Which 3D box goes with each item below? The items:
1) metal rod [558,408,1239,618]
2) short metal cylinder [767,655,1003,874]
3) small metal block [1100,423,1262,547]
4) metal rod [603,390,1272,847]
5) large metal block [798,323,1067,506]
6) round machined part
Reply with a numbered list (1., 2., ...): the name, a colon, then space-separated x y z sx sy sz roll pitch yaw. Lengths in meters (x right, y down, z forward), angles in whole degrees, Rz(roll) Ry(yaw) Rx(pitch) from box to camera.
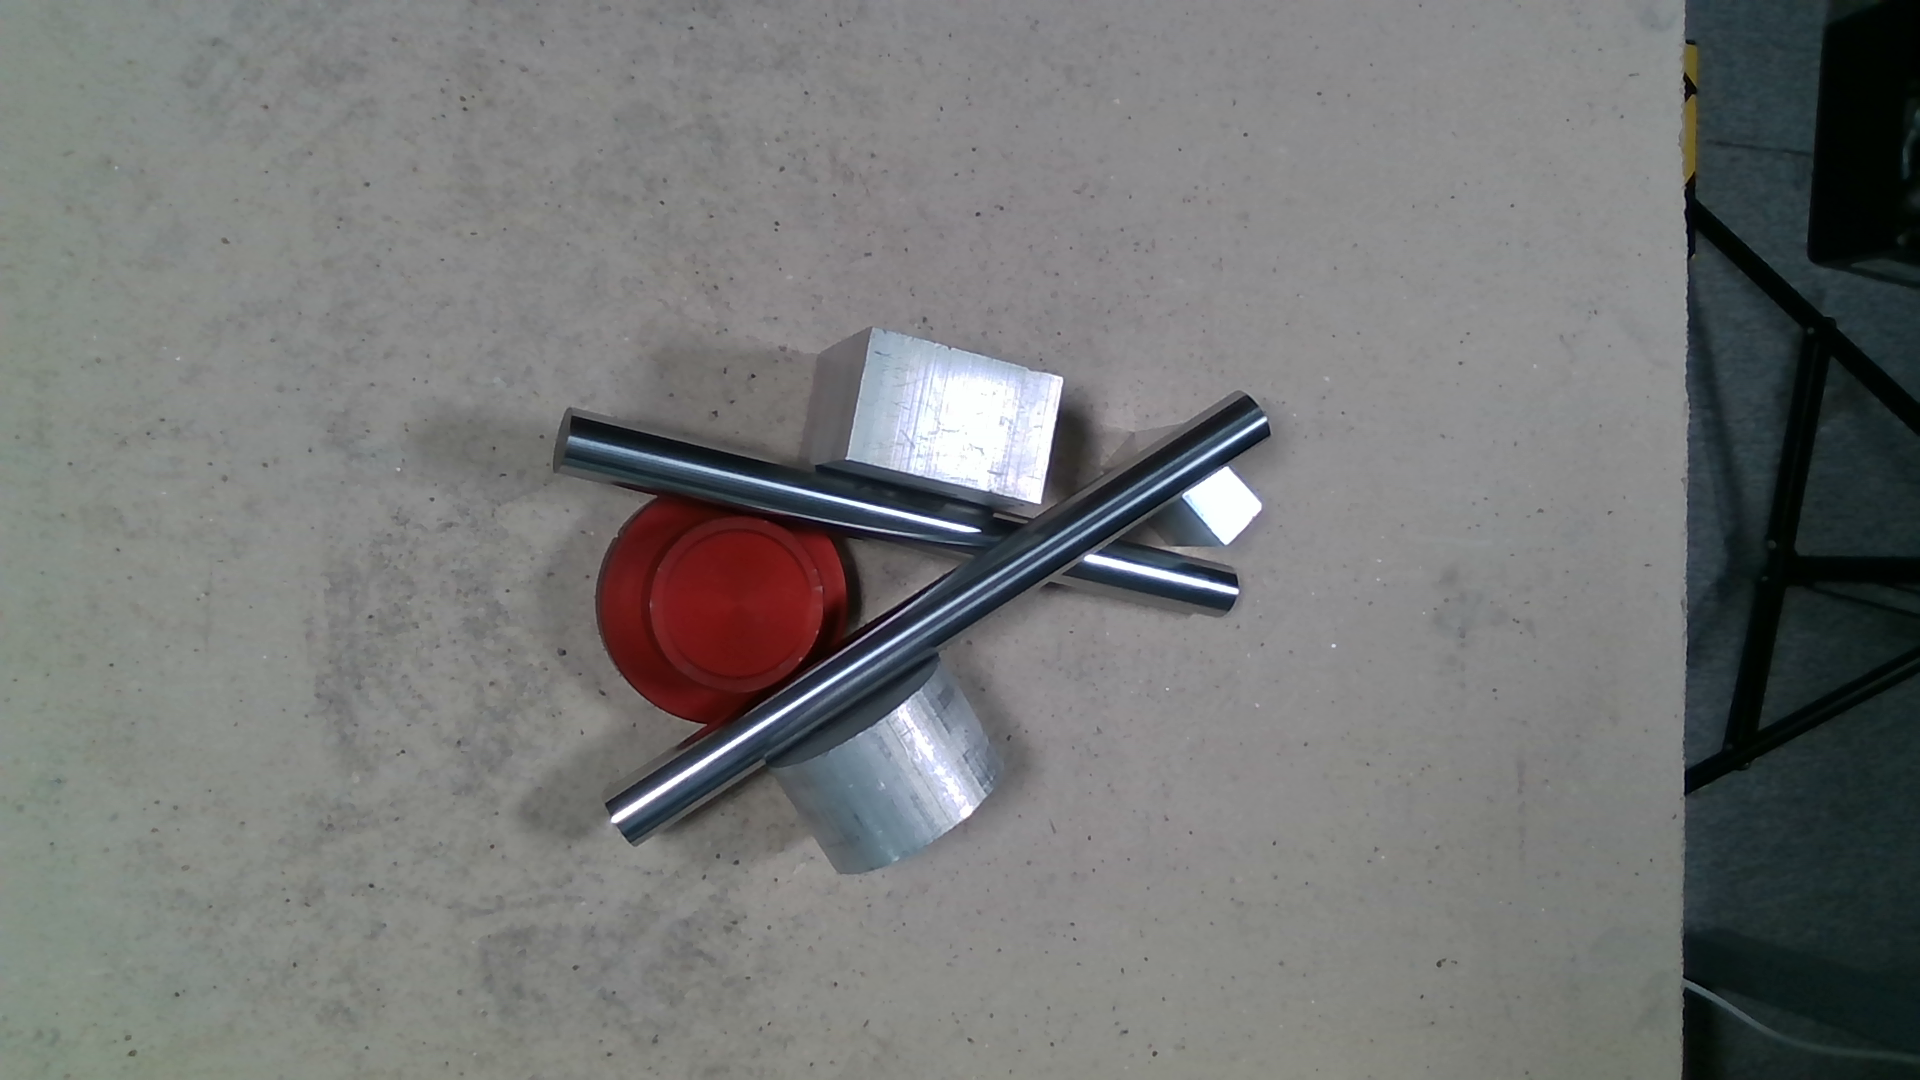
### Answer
1. metal rod: -0.012 -0.006 0.565 0.300 0.025 0.025 13 86 -26
2. short metal cylinder: -0.030 0.087 0.547 0.080 0.080 0.050 -34 101 -17
3. small metal block: 0.097 -0.024 0.608 0.050 0.050 0.025 47 75 -14
4. metal rod: -0.004 0.028 0.548 0.300 0.025 0.025 -32 101 -8
5. large metal block: -0.014 -0.046 0.552 0.080 0.080 0.050 12 86 -20
6. round machined part: -0.092 0.025 0.544 0.098 0.042 0.098 0 90 -20
